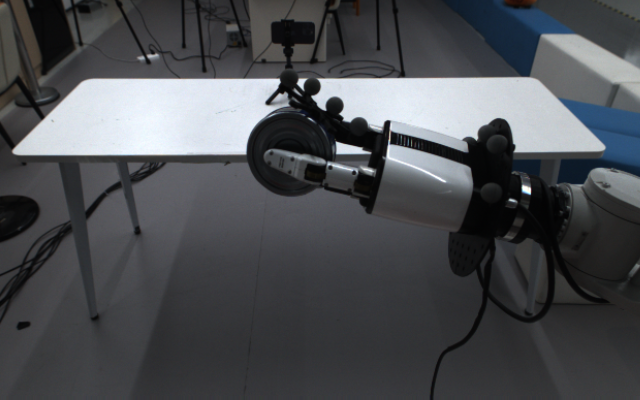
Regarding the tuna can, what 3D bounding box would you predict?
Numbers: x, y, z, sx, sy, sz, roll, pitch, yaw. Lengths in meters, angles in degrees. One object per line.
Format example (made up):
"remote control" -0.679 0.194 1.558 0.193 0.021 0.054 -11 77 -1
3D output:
"tuna can" -0.024 -0.042 0.476 0.085 0.085 0.034 6 19 6
